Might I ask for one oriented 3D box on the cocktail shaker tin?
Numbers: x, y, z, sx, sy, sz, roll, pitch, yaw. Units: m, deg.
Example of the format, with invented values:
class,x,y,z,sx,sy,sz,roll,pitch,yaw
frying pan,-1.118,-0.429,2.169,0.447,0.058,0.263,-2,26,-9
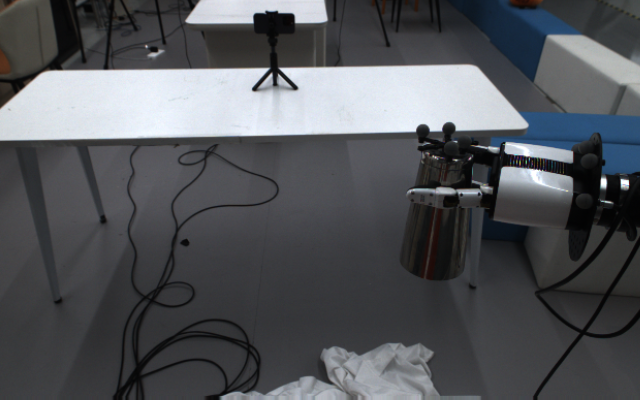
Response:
class,x,y,z,sx,sy,sz,roll,pitch,yaw
cocktail shaker tin,0.166,0.010,0.665,0.093,0.170,0.093,1,27,-1
